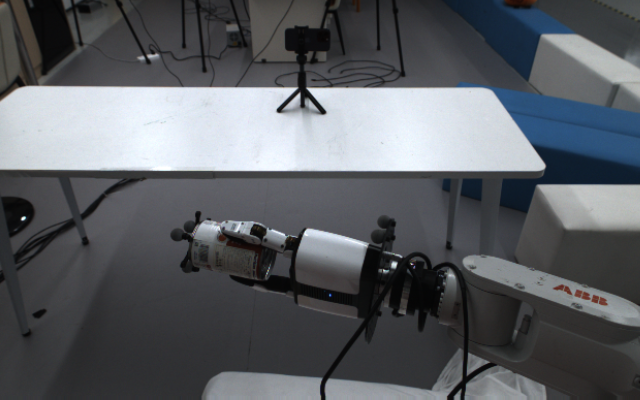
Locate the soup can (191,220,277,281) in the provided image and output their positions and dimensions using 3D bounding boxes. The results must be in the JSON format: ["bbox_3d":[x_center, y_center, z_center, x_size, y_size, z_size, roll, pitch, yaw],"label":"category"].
[{"bbox_3d":[-0.113,0.069,0.651,0.101,0.067,0.067,10,35,10],"label":"soup can"}]
